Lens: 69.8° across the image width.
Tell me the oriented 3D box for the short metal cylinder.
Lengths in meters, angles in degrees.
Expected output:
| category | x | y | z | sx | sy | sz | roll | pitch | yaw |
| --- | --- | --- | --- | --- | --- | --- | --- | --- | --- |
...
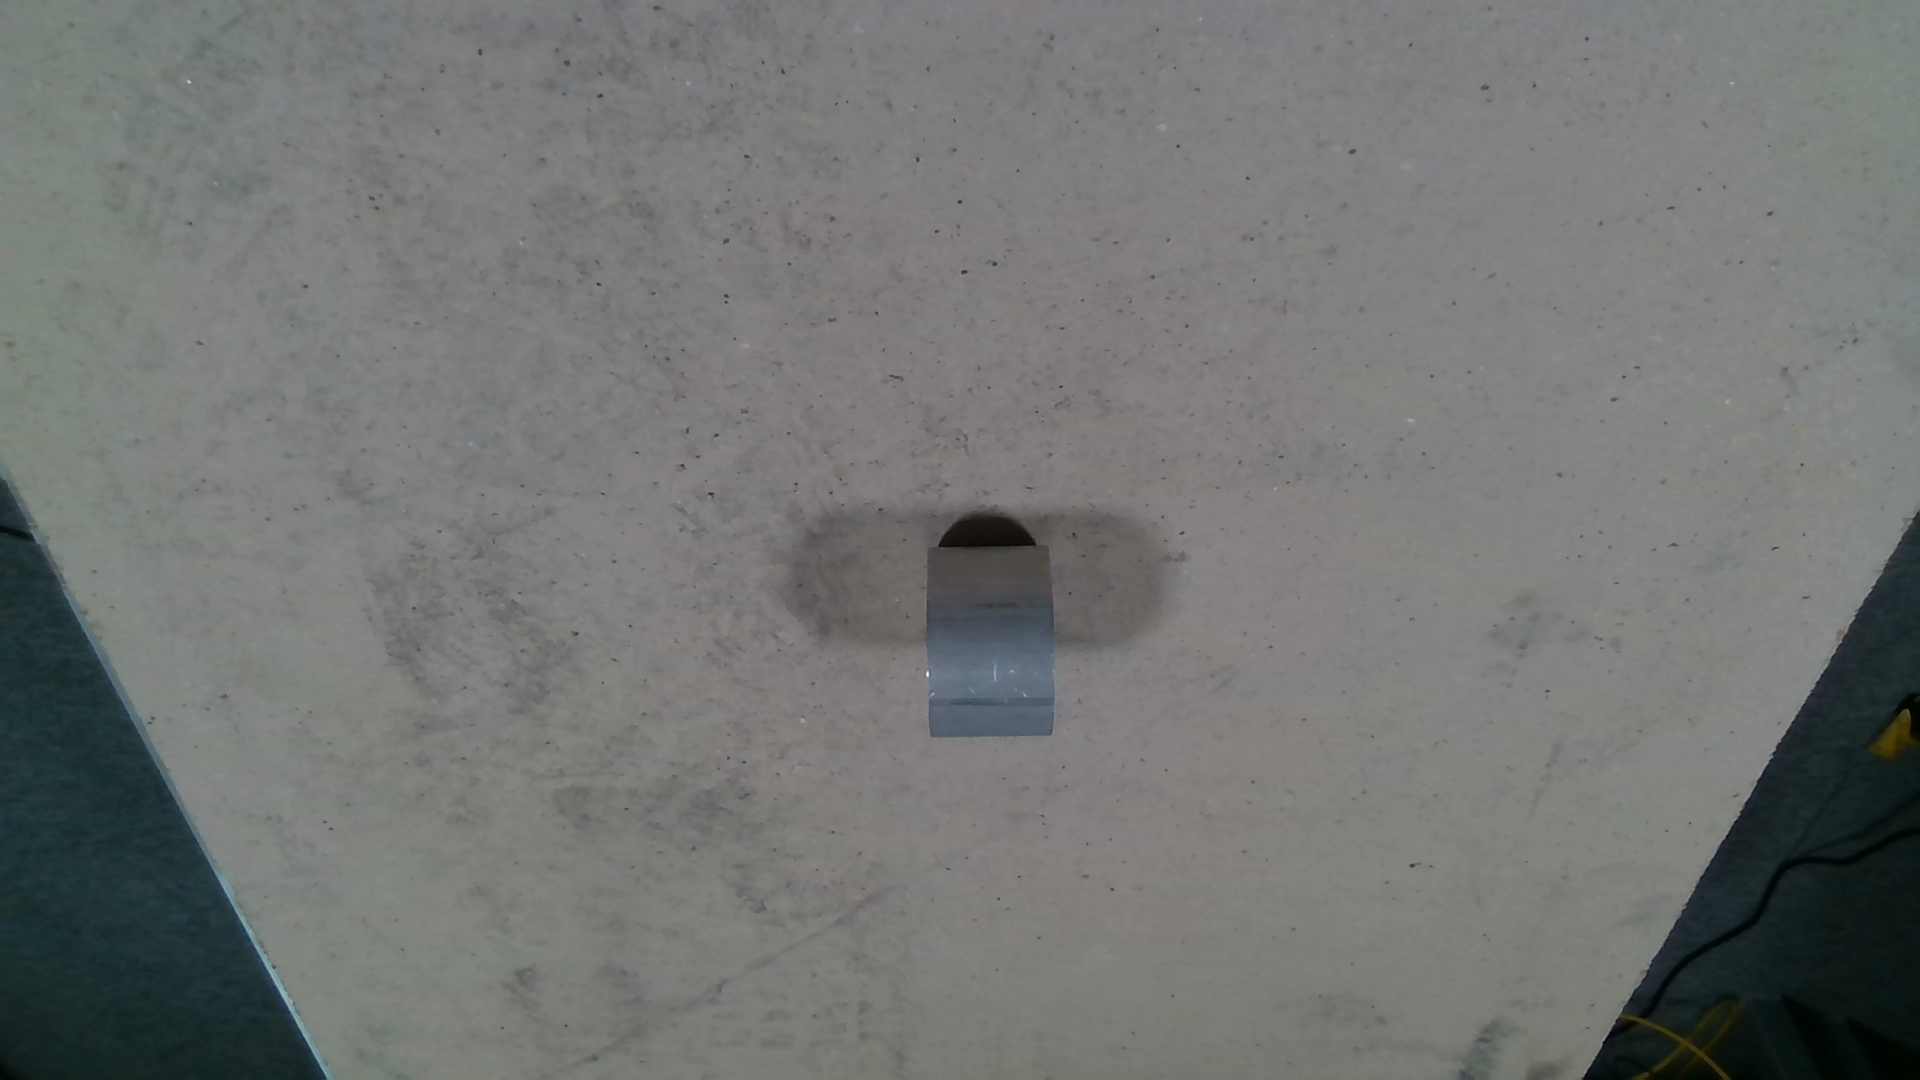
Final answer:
| category | x | y | z | sx | sy | sz | roll | pitch | yaw |
| --- | --- | --- | --- | --- | --- | --- | --- | --- | --- |
| short metal cylinder | 0.012 | 0.042 | 0.579 | 0.050 | 0.080 | 0.080 | -1 | 130 | 1 |
